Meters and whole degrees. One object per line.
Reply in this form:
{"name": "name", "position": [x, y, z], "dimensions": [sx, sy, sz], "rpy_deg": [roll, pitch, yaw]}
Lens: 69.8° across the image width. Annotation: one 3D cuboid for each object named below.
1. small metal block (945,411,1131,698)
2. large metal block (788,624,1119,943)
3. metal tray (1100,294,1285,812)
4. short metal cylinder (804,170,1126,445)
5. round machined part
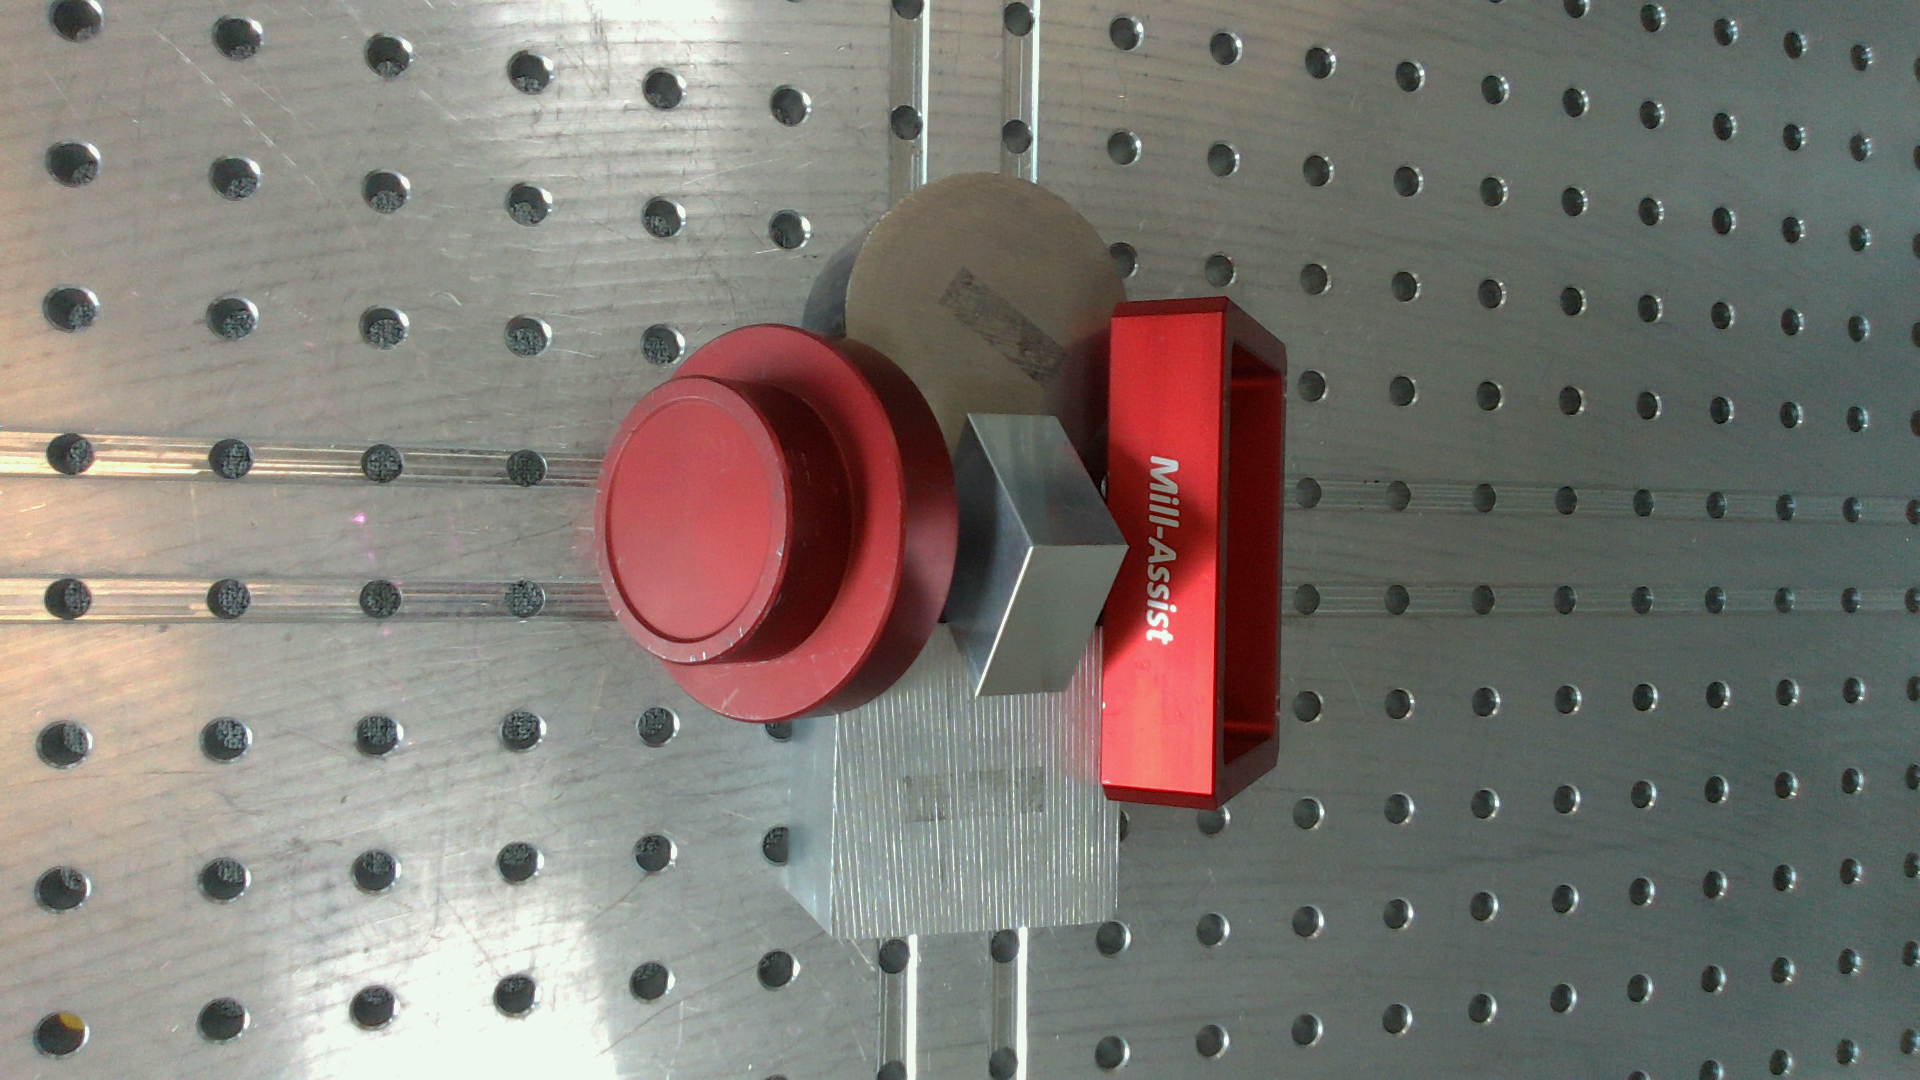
{"name": "small metal block", "position": [0.014, 0.003, 0.343], "dimensions": [0.025, 0.050, 0.050], "rpy_deg": [0, 132, -23]}
{"name": "large metal block", "position": [-0.003, 0.062, 0.382], "dimensions": [0.080, 0.050, 0.080], "rpy_deg": [2, 89, -20]}
{"name": "metal tray", "position": [0.068, 0.004, 0.388], "dimensions": [0.030, 0.090, 0.130], "rpy_deg": [1, 90, 23]}
{"name": "short metal cylinder", "position": [0.000, -0.056, 0.382], "dimensions": [0.080, 0.050, 0.080], "rpy_deg": [0, 90, -20]}
{"name": "round machined part", "position": [-0.052, -0.004, 0.334], "dimensions": [0.042, 0.098, 0.098], "rpy_deg": [2, 89, -53]}
